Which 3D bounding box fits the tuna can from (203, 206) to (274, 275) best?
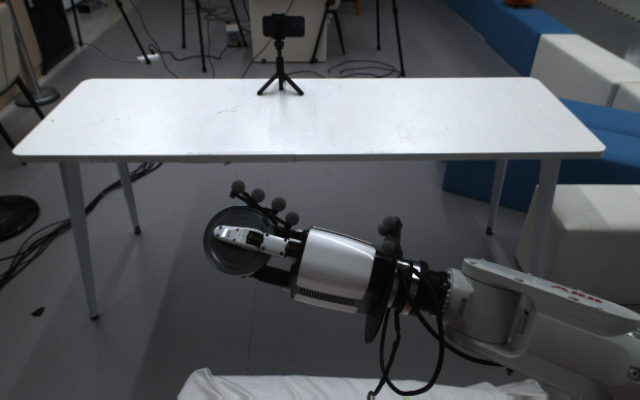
[{"bbox_3d":[-0.097,0.052,0.599,0.085,0.034,0.085,1,75,-4],"label":"tuna can"}]
